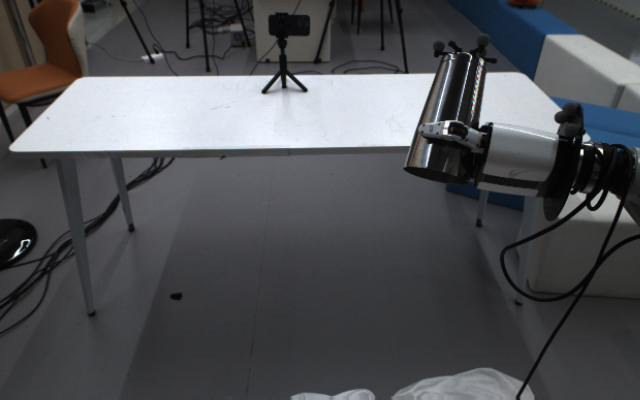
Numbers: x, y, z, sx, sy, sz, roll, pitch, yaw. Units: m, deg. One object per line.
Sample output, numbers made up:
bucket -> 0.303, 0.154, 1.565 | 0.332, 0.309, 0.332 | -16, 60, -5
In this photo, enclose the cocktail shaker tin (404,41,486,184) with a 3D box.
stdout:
cocktail shaker tin -> 0.184, -0.115, 0.688 | 0.093, 0.170, 0.093 | 15, -4, 1
